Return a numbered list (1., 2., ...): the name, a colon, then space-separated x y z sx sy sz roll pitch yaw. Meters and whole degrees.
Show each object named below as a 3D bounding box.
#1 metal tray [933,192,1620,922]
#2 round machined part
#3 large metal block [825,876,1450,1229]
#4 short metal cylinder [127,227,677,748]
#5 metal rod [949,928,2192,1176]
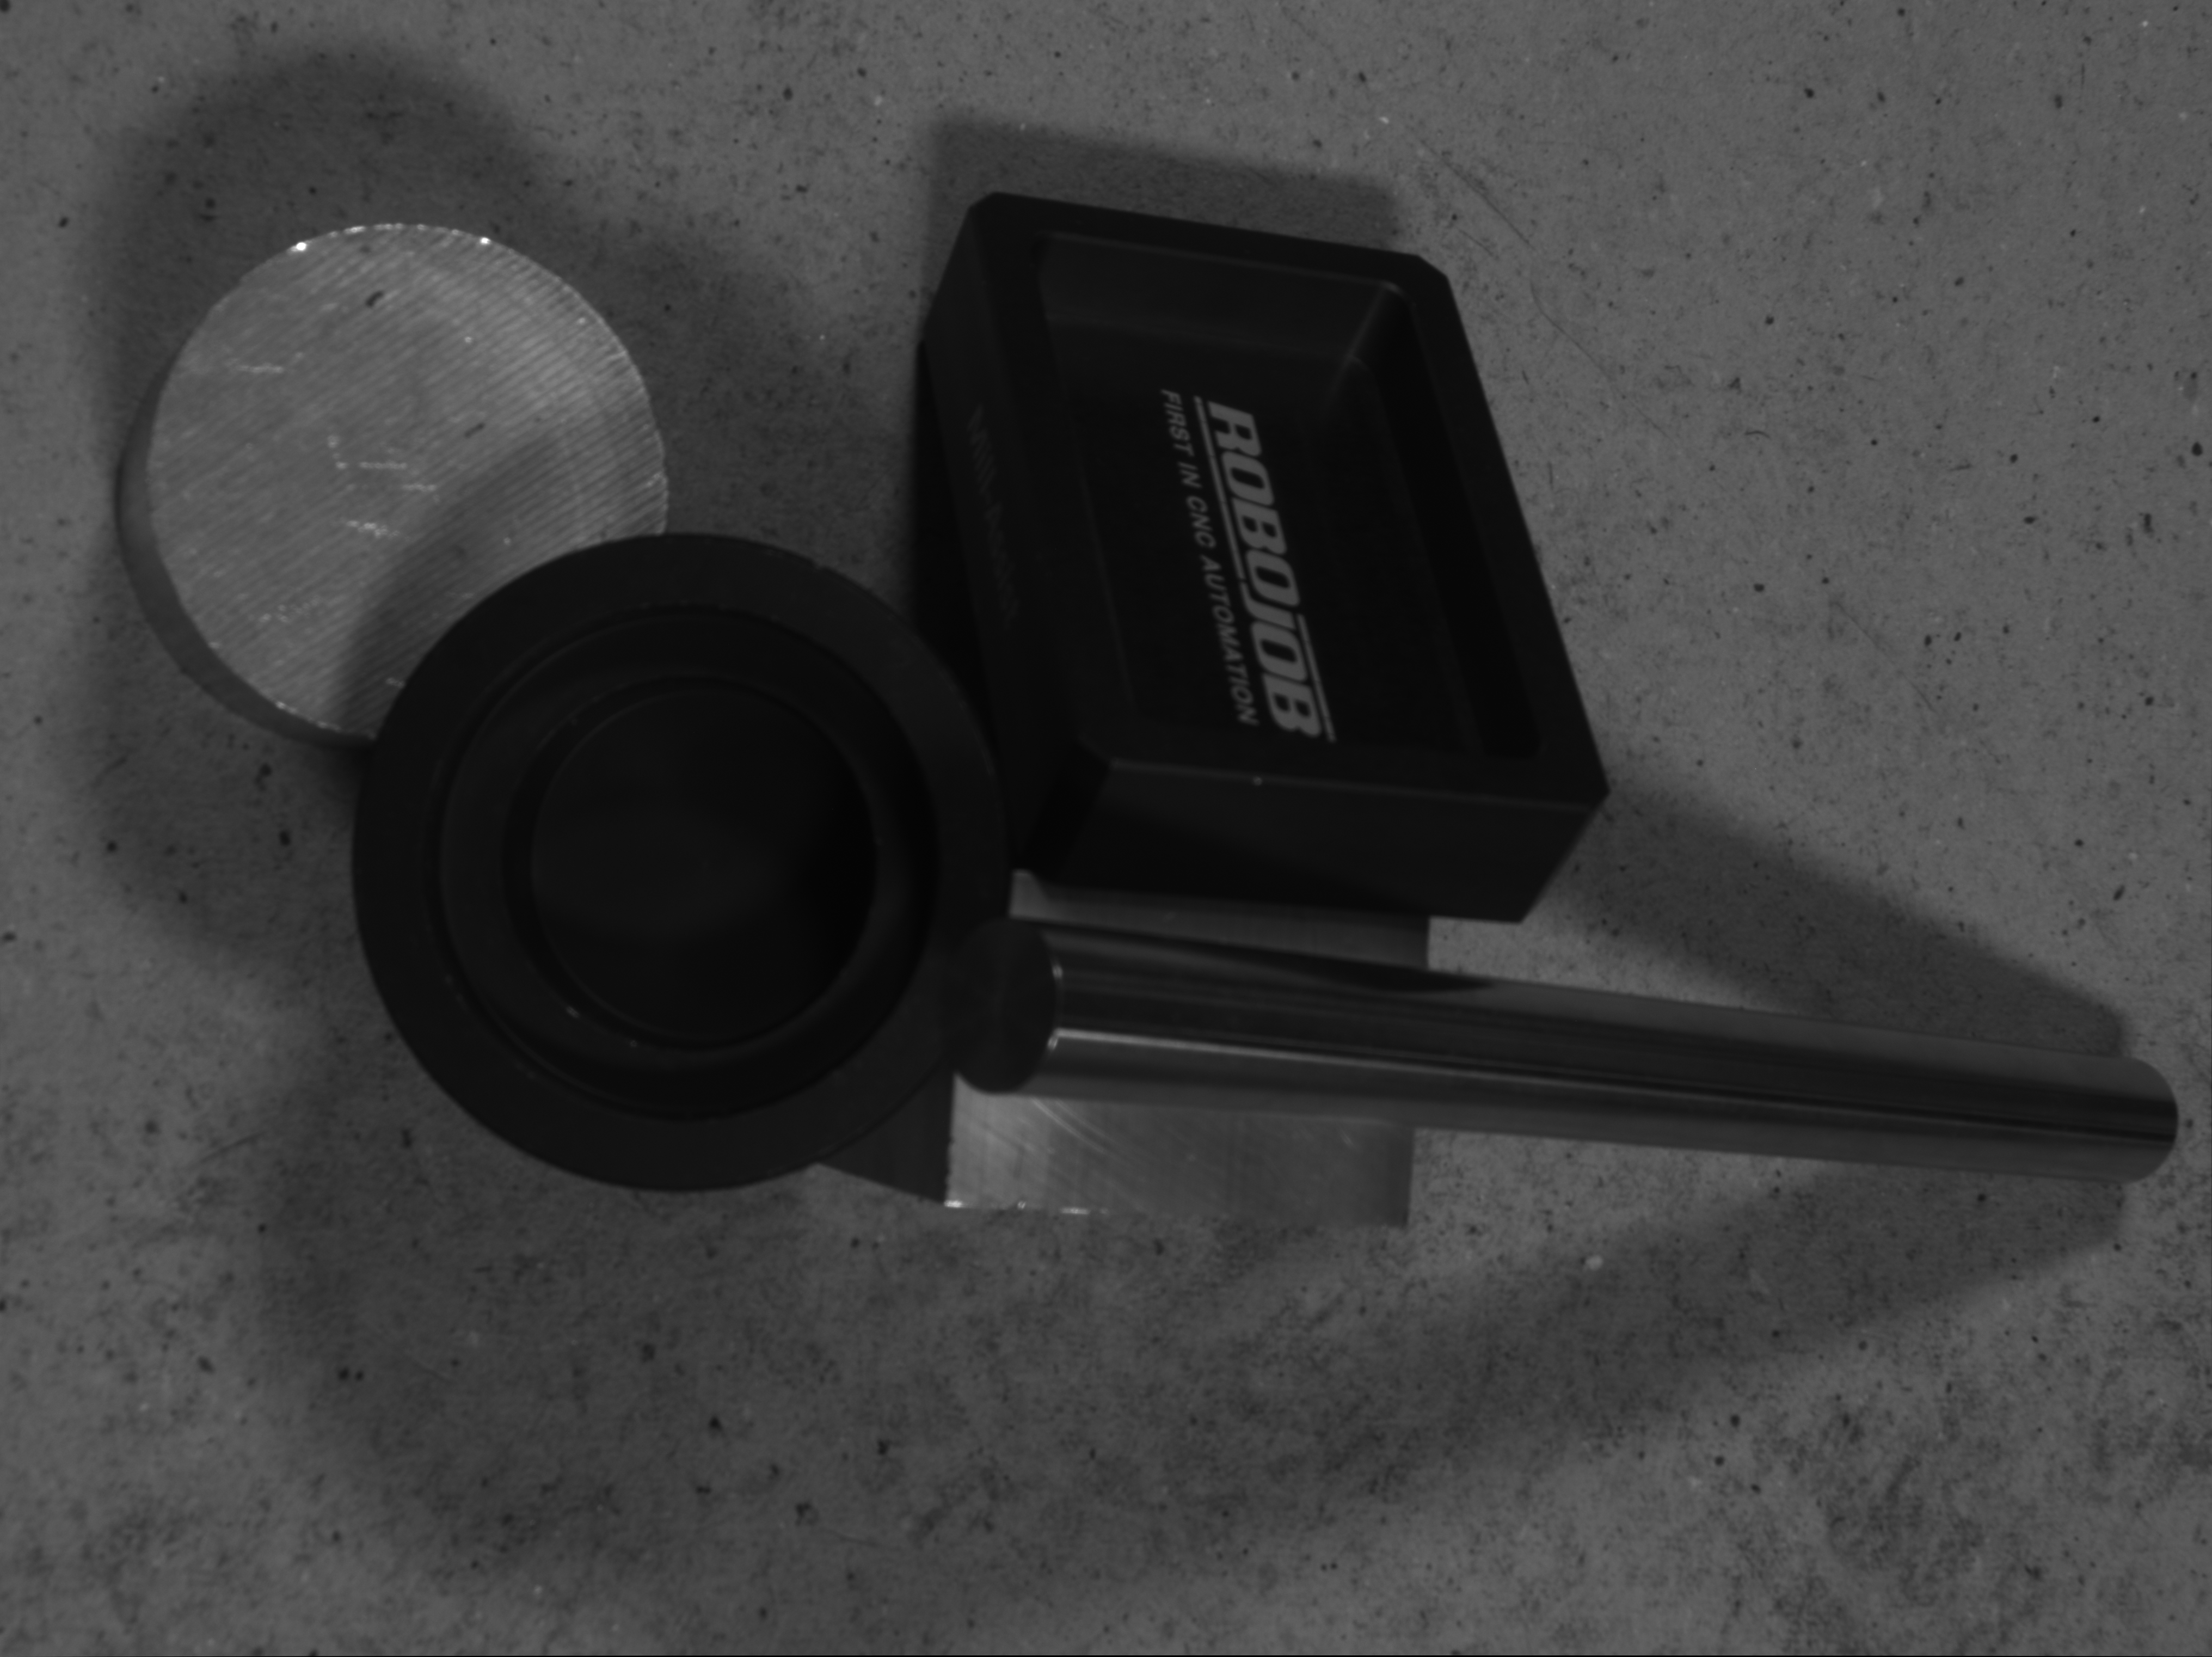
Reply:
1. metal tray: 0.025 -0.047 0.610 0.090 0.030 0.130 5 49 -20
2. round machined part: -0.062 0.005 0.565 0.098 0.042 0.098 0 89 0
3. large metal block: 0.003 0.036 0.615 0.080 0.080 0.050 5 88 -20
4. short metal cylinder: -0.114 -0.053 0.589 0.080 0.050 0.080 0 90 -20
5. metal rod: 0.094 0.041 0.615 0.301 0.025 0.025 8 87 -44
